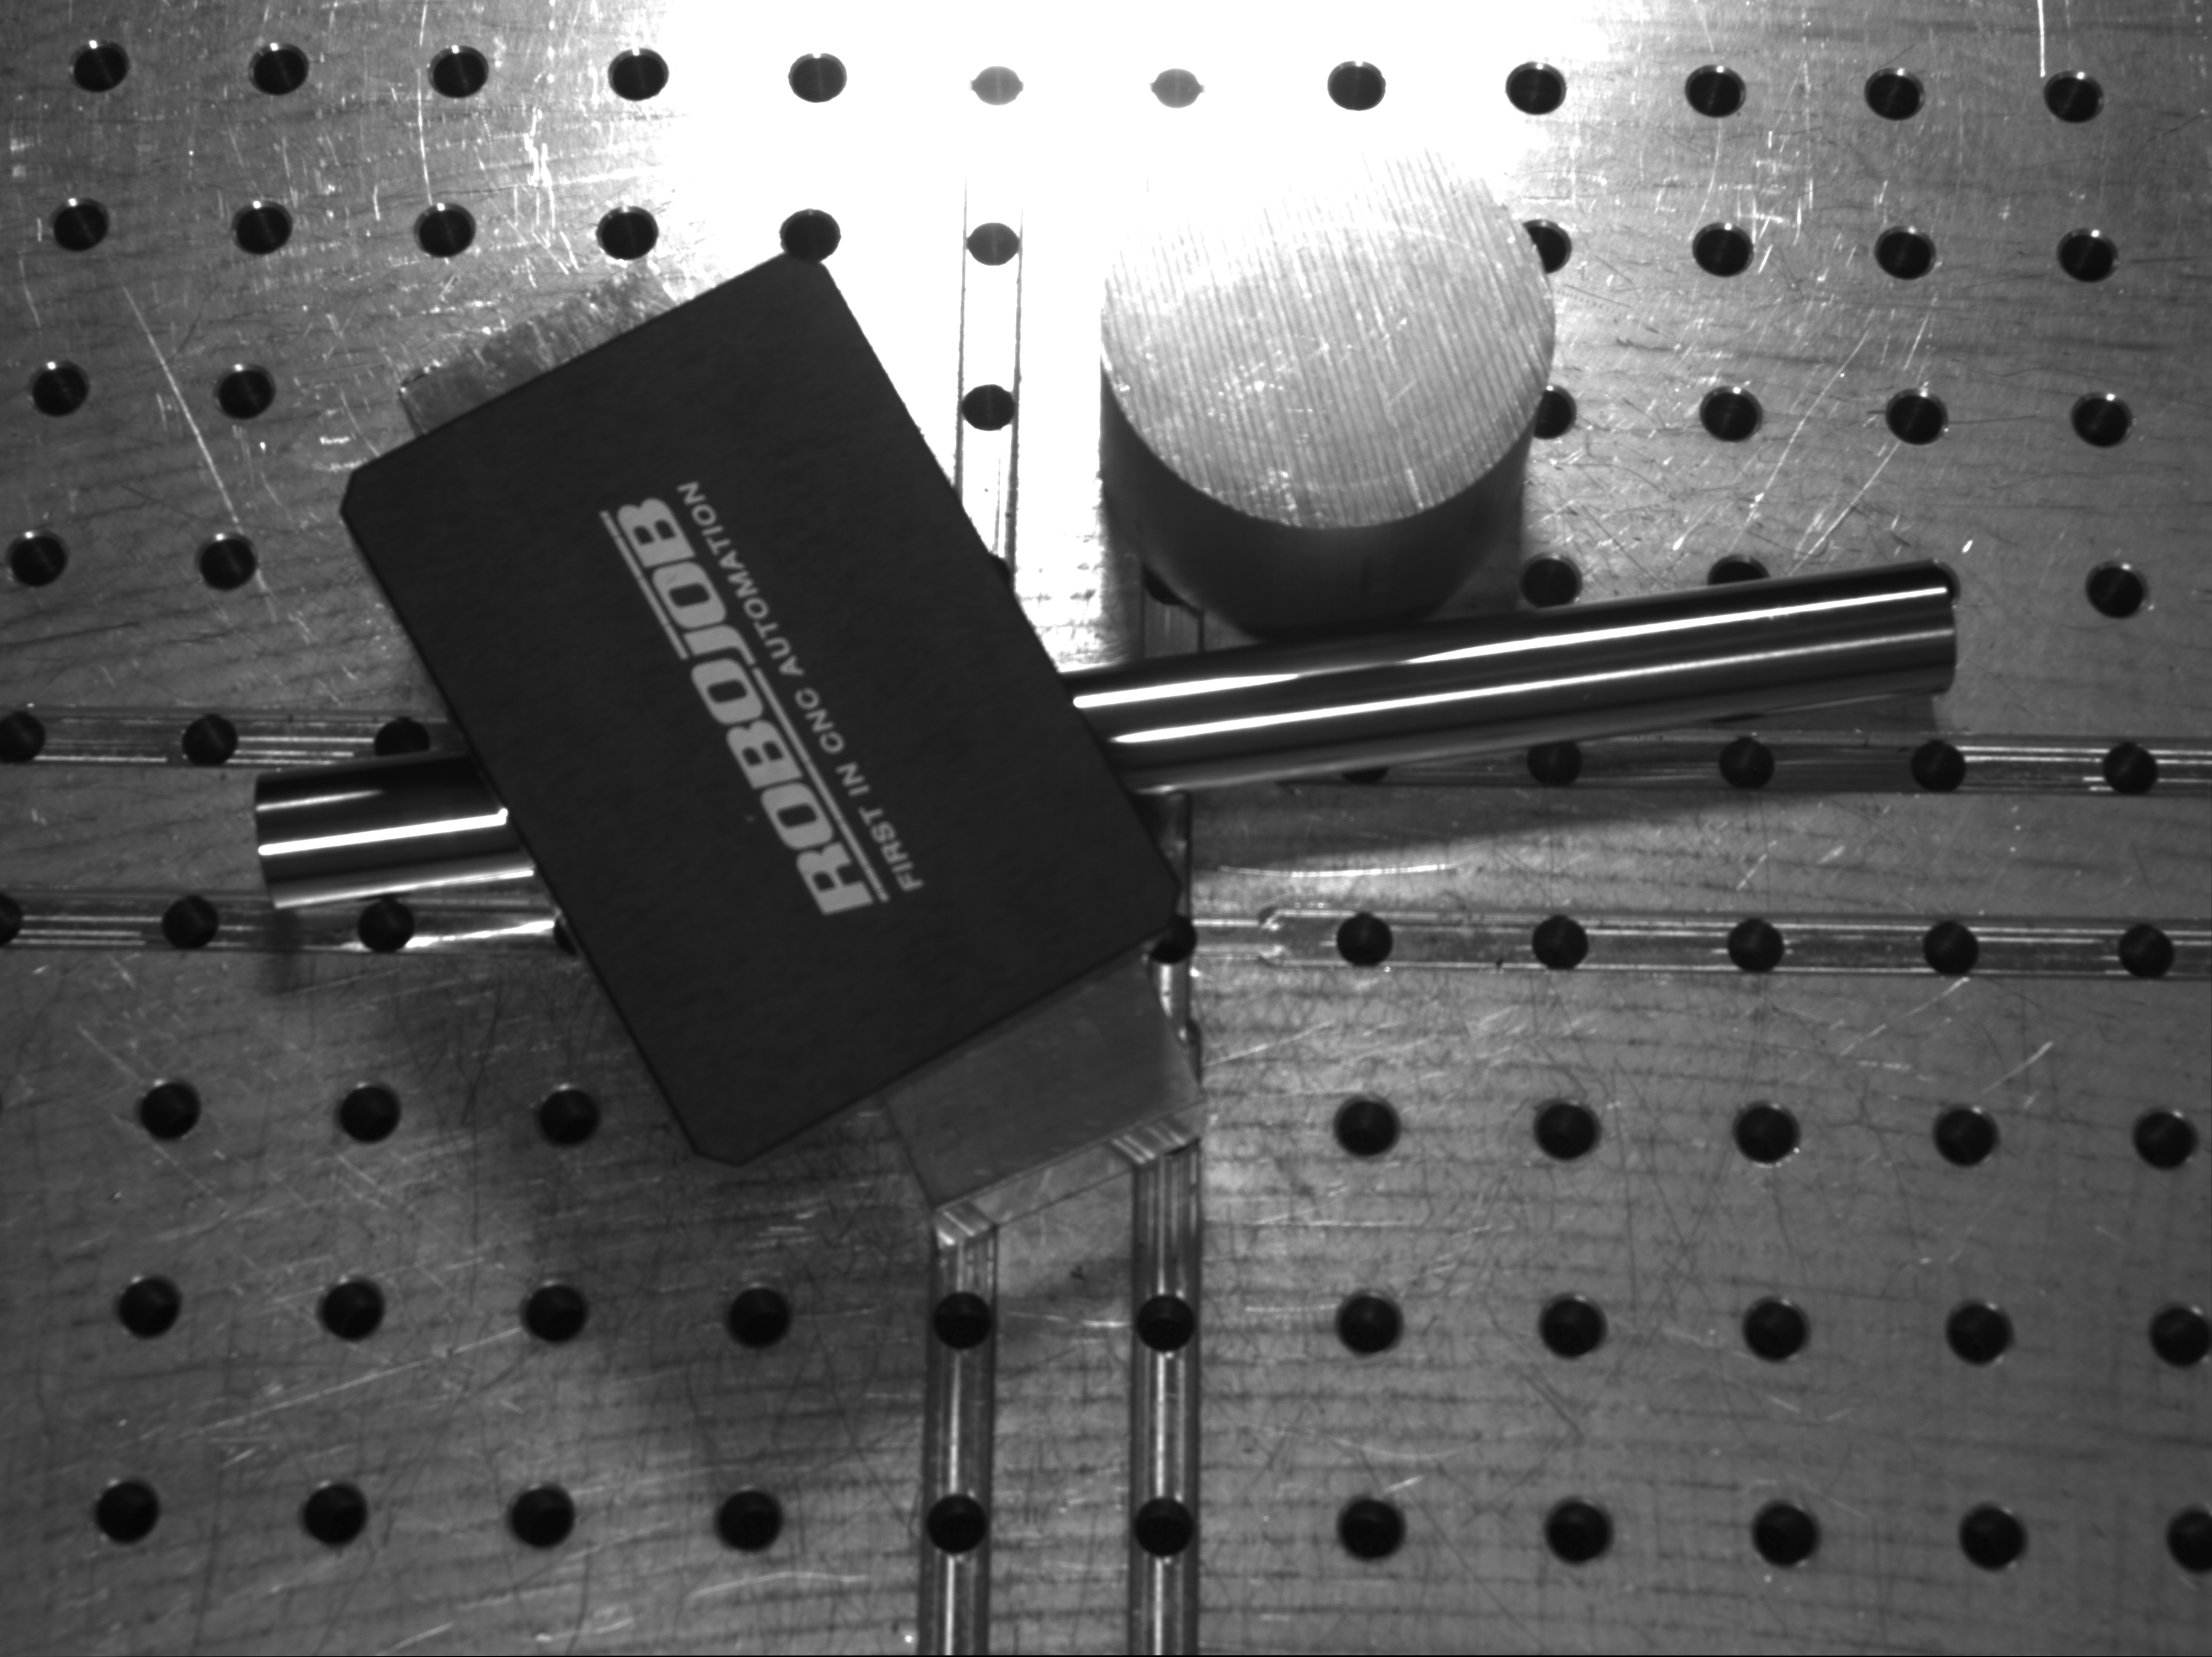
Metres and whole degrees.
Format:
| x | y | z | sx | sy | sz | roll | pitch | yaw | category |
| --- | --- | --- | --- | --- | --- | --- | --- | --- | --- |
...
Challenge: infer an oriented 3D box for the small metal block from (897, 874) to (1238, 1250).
| x | y | z | sx | sy | sz | roll | pitch | yaw | category |
| --- | --- | --- | --- | --- | --- | --- | --- | --- | --- |
| -0.011 | 0.038 | 0.632 | 0.050 | 0.025 | 0.050 | -22 | 71 | -8 | small metal block |

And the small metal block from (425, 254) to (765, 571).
| x | y | z | sx | sy | sz | roll | pitch | yaw | category |
| --- | --- | --- | --- | --- | --- | --- | --- | --- | --- |
| -0.090 | -0.070 | 0.659 | 0.050 | 0.050 | 0.025 | -30 | 72 | -10 | small metal block |

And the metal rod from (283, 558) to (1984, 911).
| x | y | z | sx | sy | sz | roll | pitch | yaw | category |
| --- | --- | --- | --- | --- | --- | --- | --- | --- | --- |
| 0.006 | -0.017 | 0.654 | 0.300 | 0.025 | 0.025 | -7 | 70 | -3 | metal rod |

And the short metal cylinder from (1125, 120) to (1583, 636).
| x | y | z | sx | sy | sz | roll | pitch | yaw | category |
| --- | --- | --- | --- | --- | --- | --- | --- | --- | --- |
| 0.043 | -0.080 | 0.663 | 0.080 | 0.050 | 0.080 | 0 | 70 | 0 | short metal cylinder |

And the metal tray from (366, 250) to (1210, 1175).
| x | y | z | sx | sy | sz | roll | pitch | yaw | category |
| --- | --- | --- | --- | --- | --- | --- | --- | --- | --- |
| -0.053 | -0.019 | 0.610 | 0.090 | 0.030 | 0.130 | -29 | 84 | -10 | metal tray |
